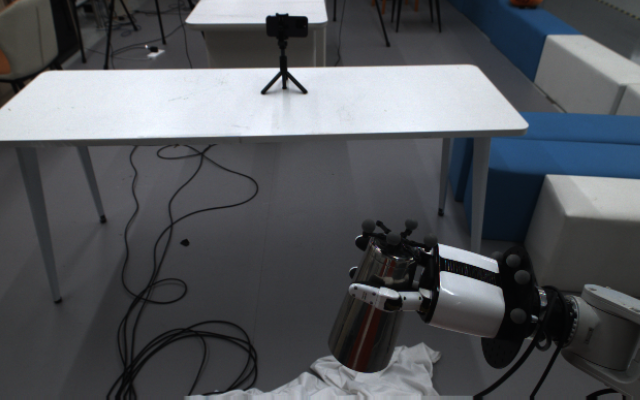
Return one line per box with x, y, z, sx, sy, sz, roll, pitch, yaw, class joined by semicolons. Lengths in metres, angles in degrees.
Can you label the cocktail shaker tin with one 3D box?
0.078;0.129;0.645;0.093;0.170;0.093;12;25;-6;cocktail shaker tin
